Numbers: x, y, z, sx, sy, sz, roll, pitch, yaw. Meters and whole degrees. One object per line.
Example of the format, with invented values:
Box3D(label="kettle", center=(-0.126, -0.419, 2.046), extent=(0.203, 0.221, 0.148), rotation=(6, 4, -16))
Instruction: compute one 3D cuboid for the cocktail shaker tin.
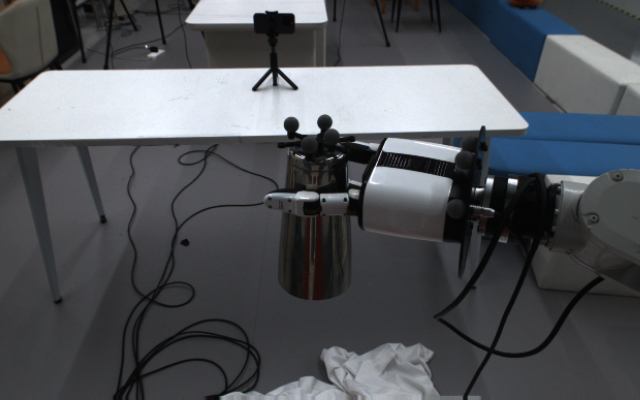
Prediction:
Box3D(label="cocktail shaker tin", center=(-0.001, 0.018, 0.569), extent=(0.093, 0.170, 0.093), rotation=(1, 27, -1))
